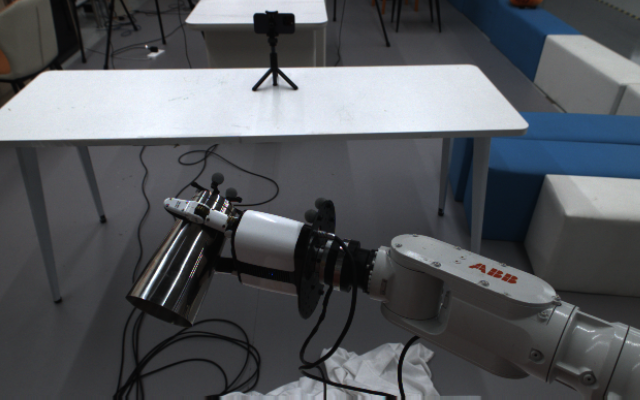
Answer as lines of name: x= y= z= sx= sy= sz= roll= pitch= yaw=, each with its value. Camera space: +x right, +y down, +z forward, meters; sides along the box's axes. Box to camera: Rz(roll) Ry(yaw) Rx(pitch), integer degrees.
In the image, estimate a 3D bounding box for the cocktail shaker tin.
cocktail shaker tin: x=-0.178 y=0.072 z=0.657 sx=0.093 sy=0.093 sz=0.170 roll=13 pitch=59 yaw=15
